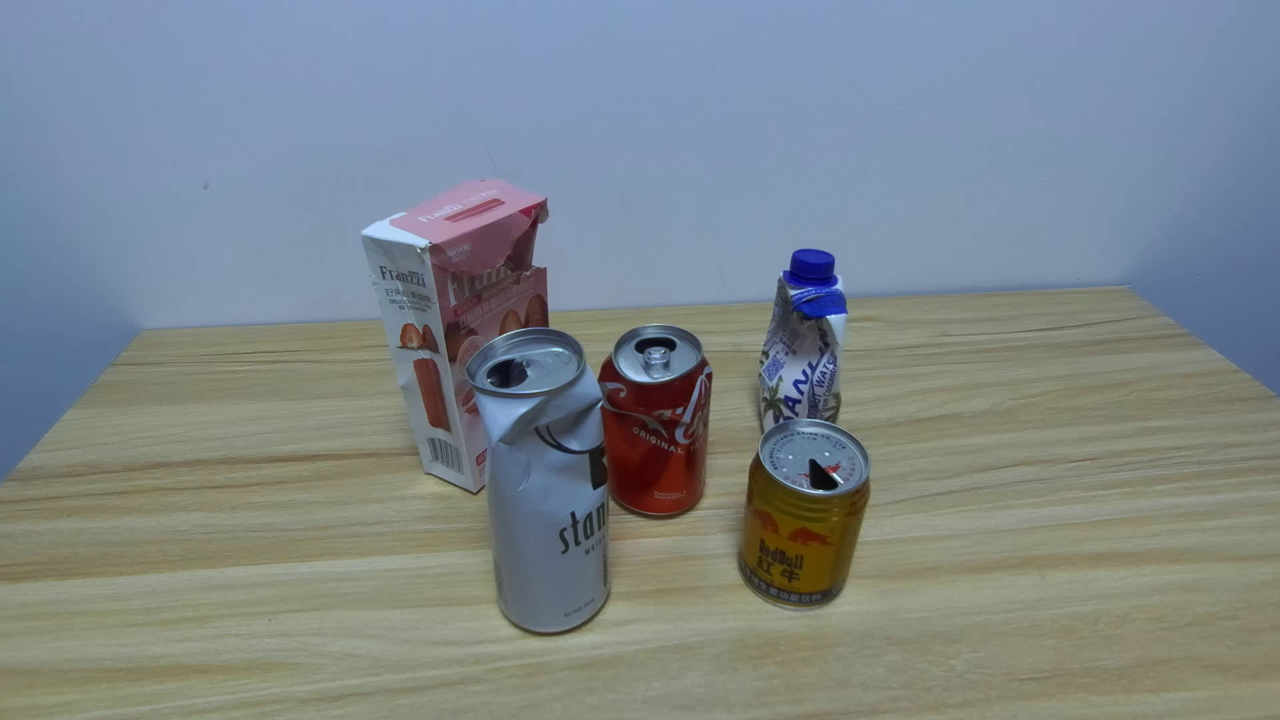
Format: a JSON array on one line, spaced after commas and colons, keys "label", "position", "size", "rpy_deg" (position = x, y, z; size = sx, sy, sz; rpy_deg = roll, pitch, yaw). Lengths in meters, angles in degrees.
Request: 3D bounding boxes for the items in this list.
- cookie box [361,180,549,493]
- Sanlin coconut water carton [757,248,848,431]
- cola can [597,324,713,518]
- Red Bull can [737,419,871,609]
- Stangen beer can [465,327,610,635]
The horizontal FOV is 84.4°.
[{"label": "cookie box", "position": [-0.107, -0.012, 0.463], "size": [0.059, 0.186, 0.105], "rpy_deg": [21, 39, 26]}, {"label": "Sanlin coconut water carton", "position": [0.111, -0.002, 0.489], "size": [0.056, 0.145, 0.068], "rpy_deg": [-2, 41, 9]}, {"label": "cola can", "position": [0.015, 0.040, 0.451], "size": [0.072, 0.117, 0.066], "rpy_deg": [29, 44, 35]}, {"label": "Red Bull can", "position": [0.092, 0.087, 0.399], "size": [0.067, 0.093, 0.067], "rpy_deg": [1, 36, -1]}, {"label": "Stangen beer can", "position": [-0.051, 0.068, 0.366], "size": [0.066, 0.166, 0.065], "rpy_deg": [-20, 38, -26]}]
